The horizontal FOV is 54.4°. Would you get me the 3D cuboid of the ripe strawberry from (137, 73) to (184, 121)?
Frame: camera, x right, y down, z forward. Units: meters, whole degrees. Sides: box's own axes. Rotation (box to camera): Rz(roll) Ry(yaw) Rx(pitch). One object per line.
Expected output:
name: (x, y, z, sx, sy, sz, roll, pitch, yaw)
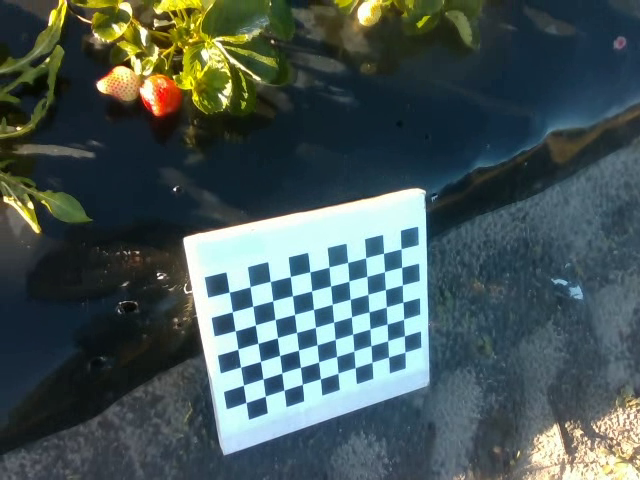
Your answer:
ripe strawberry: (-0.146, -0.129, 0.565, 0.040, 0.038, 0.056, -18, 29, 12)
